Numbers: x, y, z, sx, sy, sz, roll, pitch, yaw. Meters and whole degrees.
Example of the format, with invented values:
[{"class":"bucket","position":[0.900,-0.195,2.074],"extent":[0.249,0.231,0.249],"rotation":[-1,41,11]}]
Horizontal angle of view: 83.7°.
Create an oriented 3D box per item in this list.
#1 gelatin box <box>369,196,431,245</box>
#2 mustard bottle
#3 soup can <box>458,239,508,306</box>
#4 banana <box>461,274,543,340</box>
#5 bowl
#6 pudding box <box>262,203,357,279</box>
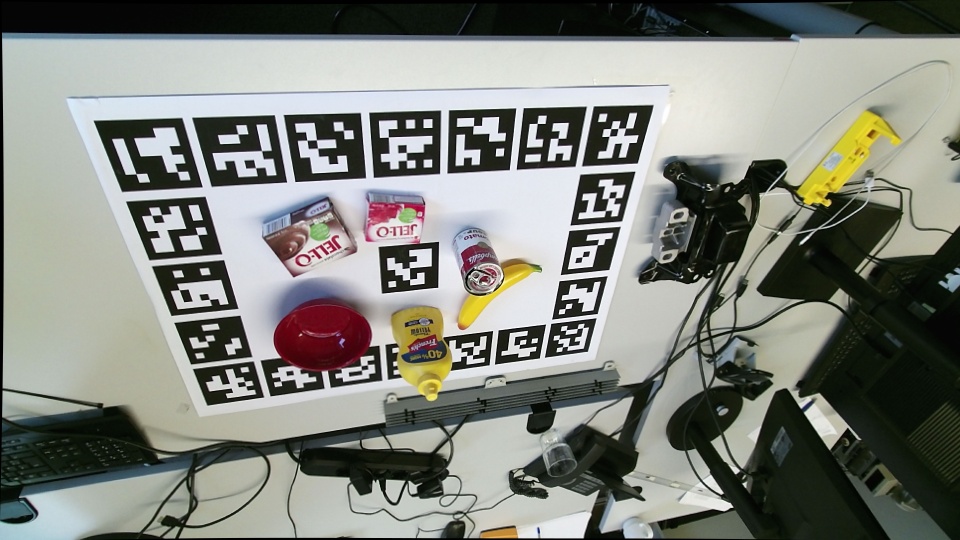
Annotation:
[{"class":"gelatin box","position":[-0.128,-0.077,0.850],"extent":[0.090,0.030,0.073],"rotation":[1,123,-19]},{"class":"mustard bottle","position":[-0.099,0.162,0.926],"extent":[0.096,0.190,0.058],"rotation":[-5,130,-14]},{"class":"soup can","position":[0.005,0.003,0.896],"extent":[0.068,0.101,0.068],"rotation":[-8,130,-9]},{"class":"banana","position":[0.026,0.066,1.004],"extent":[0.197,0.038,0.074],"rotation":[-42,137,16]},{"class":"bowl","position":[-0.282,0.114,0.938],"extent":[0.162,0.055,0.162],"rotation":[-10,130,-12]},{"class":"pudding box","position":[-0.262,-0.041,0.831],"extent":[0.114,0.038,0.090],"rotation":[-24,124,1]}]
